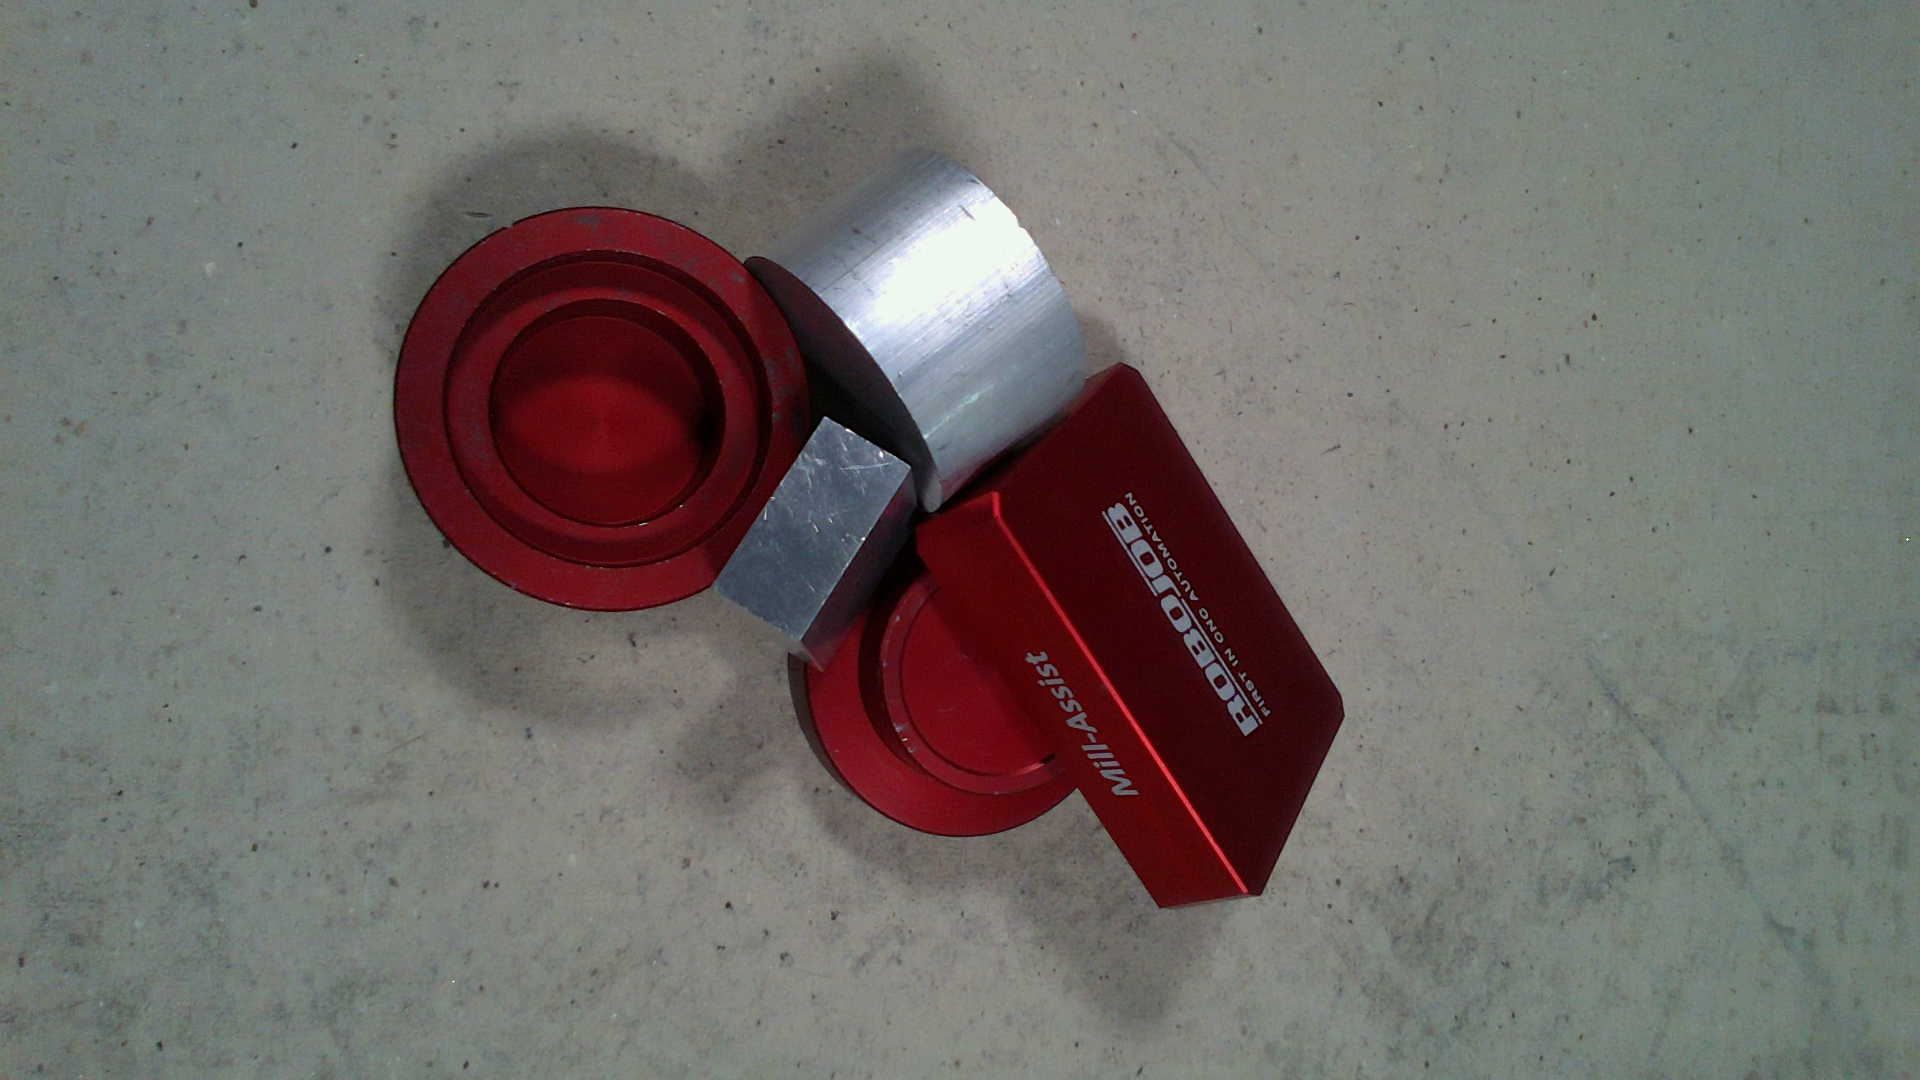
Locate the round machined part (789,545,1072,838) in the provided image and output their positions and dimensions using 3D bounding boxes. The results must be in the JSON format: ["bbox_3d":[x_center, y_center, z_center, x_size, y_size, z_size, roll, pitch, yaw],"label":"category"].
[{"bbox_3d":[0.004,0.035,0.386,0.098,0.042,0.098,0,90,-20],"label":"round machined part"}]

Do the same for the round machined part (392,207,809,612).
[{"bbox_3d":[-0.091,-0.032,0.351,0.098,0.042,0.098,0,90,-20],"label":"round machined part"}]

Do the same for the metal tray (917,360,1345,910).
[{"bbox_3d":[0.053,0.025,0.387,0.130,0.030,0.090,56,42,-11],"label":"metal tray"}]

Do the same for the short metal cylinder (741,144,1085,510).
[{"bbox_3d":[-0.013,-0.055,0.360,0.050,0.080,0.080,-39,103,-15],"label":"short metal cylinder"}]

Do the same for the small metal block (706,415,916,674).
[{"bbox_3d":[-0.035,0.003,0.349,0.025,0.050,0.050,30,79,8],"label":"small metal block"}]
